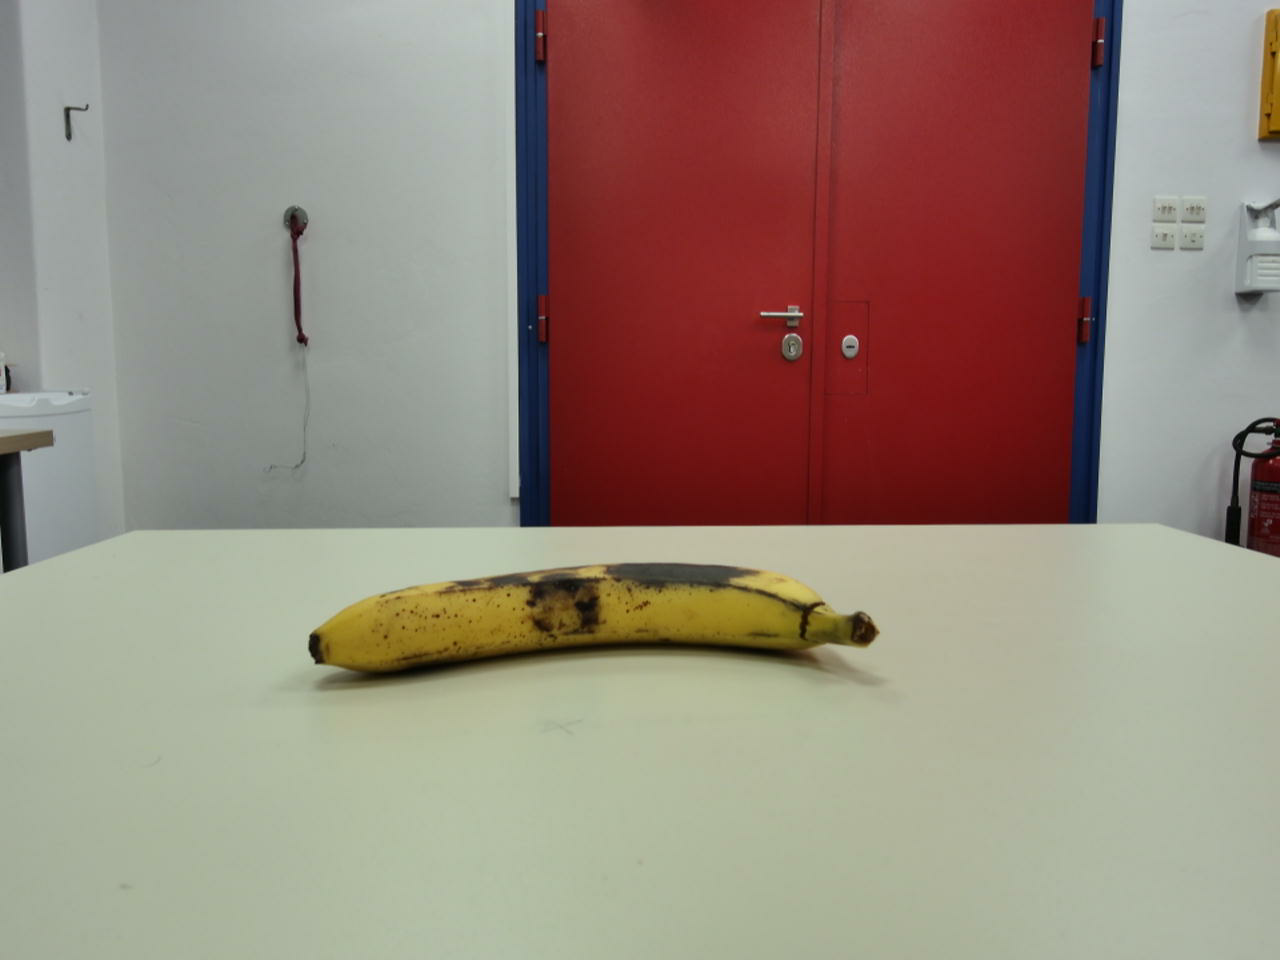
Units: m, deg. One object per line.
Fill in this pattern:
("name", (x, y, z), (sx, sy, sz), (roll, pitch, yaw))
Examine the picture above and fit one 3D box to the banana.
("banana", (-0.019, 0.058, 0.424), (0.222, 0.037, 0.084), (0, 4, 0))
